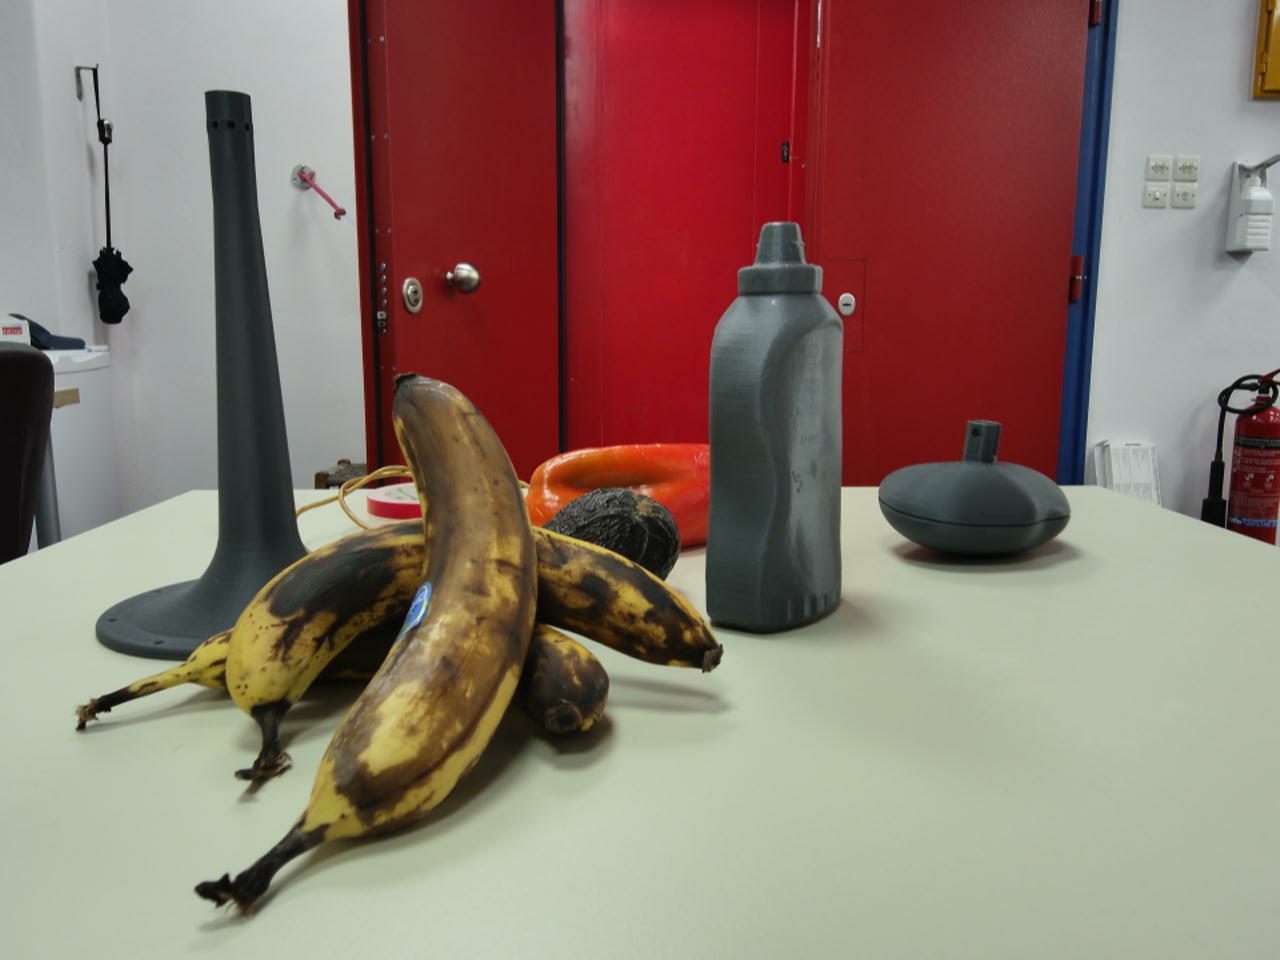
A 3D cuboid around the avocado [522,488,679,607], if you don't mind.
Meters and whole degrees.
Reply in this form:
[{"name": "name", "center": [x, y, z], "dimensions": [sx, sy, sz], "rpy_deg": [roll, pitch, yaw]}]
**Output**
[{"name": "avocado", "center": [-0.021, 0.036, 0.534], "dimensions": [0.092, 0.062, 0.062], "rpy_deg": [-3, 8, -24]}]
